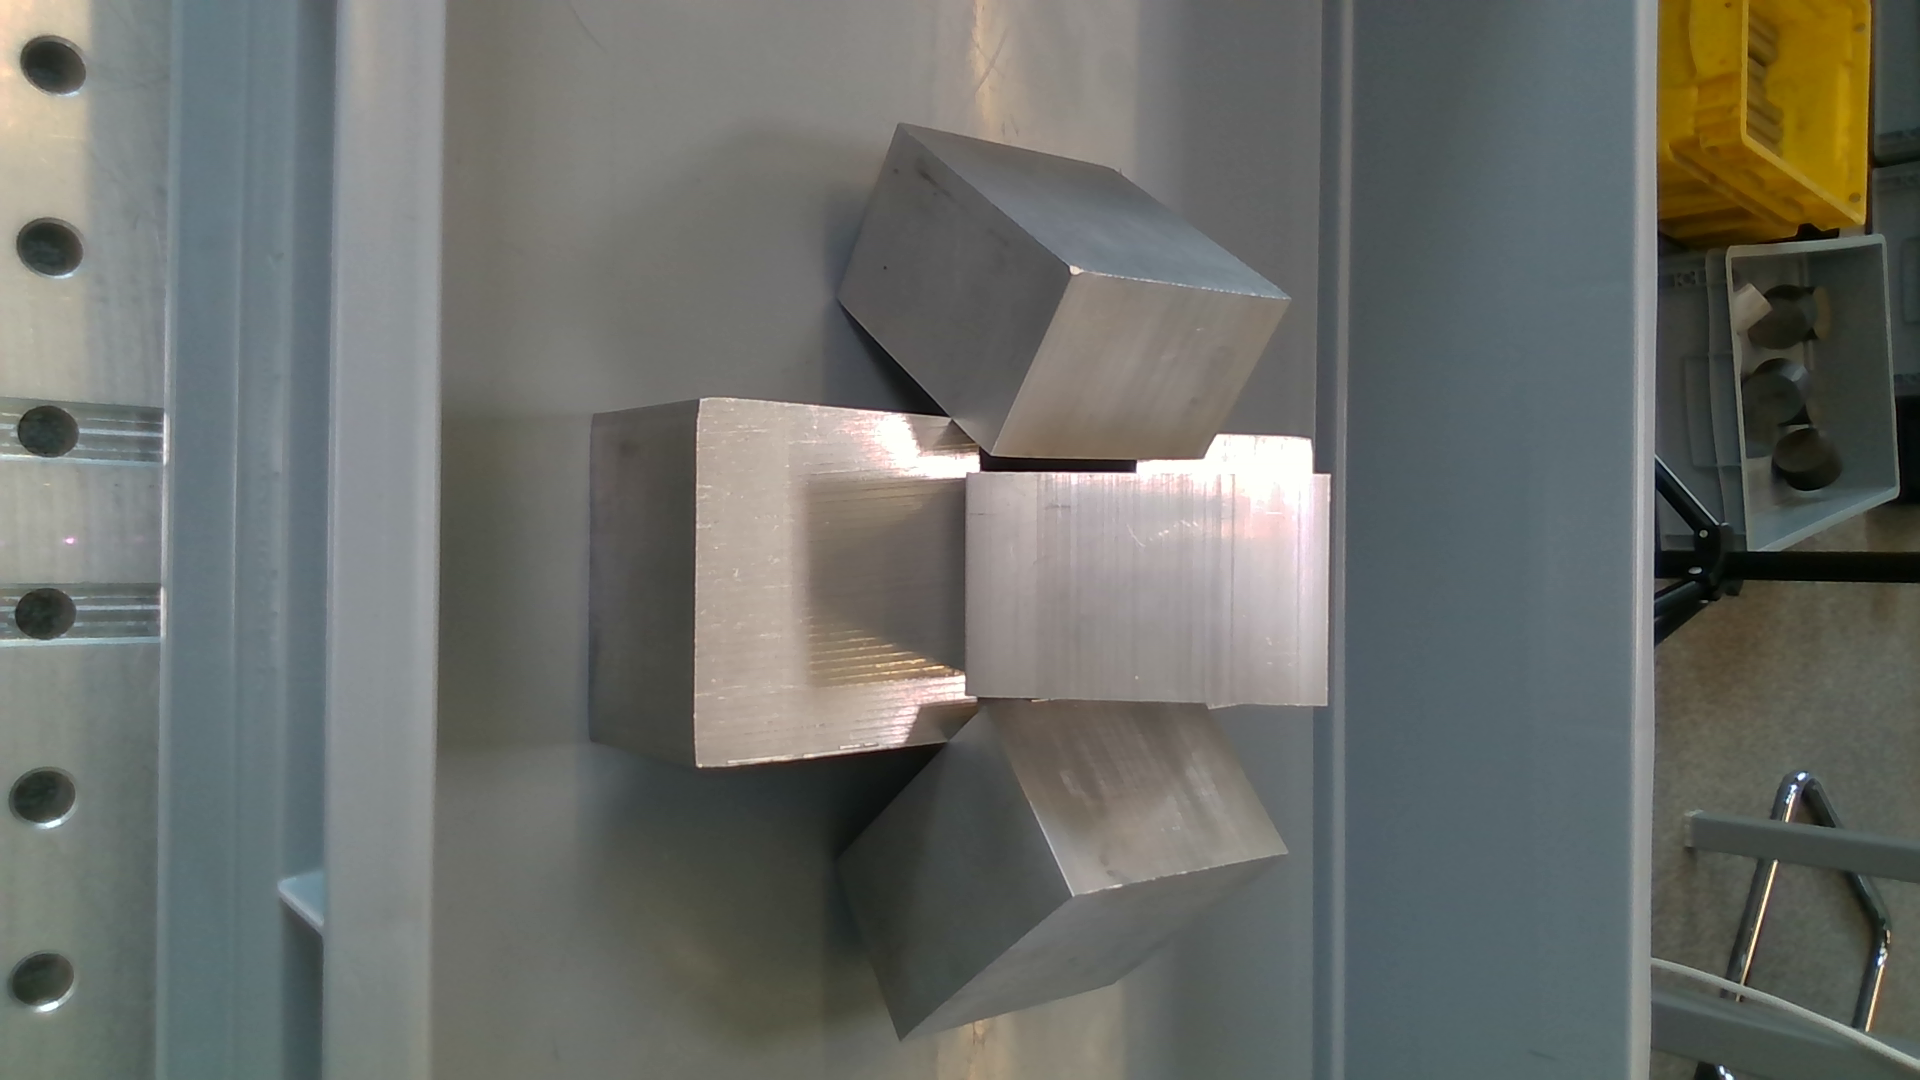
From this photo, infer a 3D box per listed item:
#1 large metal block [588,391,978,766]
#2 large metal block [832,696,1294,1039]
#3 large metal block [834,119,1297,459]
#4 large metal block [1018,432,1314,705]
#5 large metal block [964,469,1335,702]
[{"bbox_3d":[-0.042,0.009,0.338,0.080,0.050,0.080,1,89,-40],"label":"large metal block"},{"bbox_3d":[0.026,0.084,0.367,0.080,0.080,0.050,1,50,-40],"label":"large metal block"},{"bbox_3d":[0.026,-0.065,0.366,0.080,0.080,0.050,-2,127,-40],"label":"large metal block"},{"bbox_3d":[0.065,0.008,0.425,0.080,0.050,0.080,-2,91,-40],"label":"large metal block"},{"bbox_3d":[0.045,0.009,0.340,0.080,0.080,0.050,-12,102,-84],"label":"large metal block"}]
